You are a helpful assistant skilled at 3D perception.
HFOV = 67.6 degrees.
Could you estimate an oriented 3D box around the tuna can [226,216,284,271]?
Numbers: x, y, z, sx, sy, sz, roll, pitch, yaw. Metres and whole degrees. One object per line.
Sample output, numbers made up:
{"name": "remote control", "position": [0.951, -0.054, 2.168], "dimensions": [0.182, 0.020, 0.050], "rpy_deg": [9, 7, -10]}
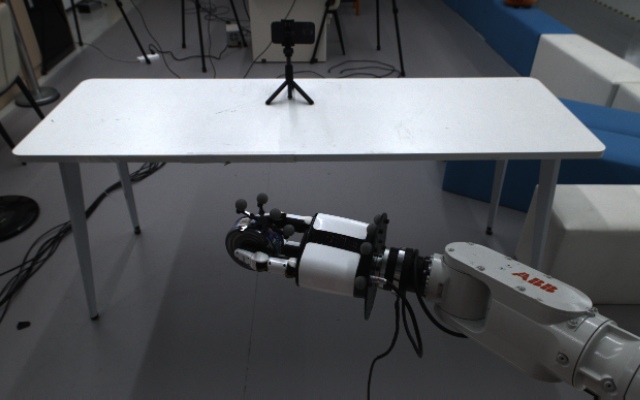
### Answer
{"name": "tuna can", "position": [-0.098, 0.074, 0.742], "dimensions": [0.085, 0.085, 0.034], "rpy_deg": [12, 35, 14]}
